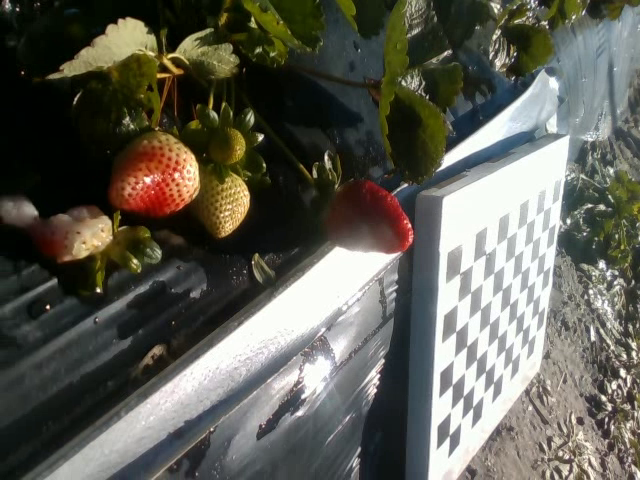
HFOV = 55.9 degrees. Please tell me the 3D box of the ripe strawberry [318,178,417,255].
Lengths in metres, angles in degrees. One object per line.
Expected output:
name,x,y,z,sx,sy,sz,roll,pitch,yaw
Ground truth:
ripe strawberry,0.022,-0.007,0.264,0.045,0.038,0.036,30,36,30
